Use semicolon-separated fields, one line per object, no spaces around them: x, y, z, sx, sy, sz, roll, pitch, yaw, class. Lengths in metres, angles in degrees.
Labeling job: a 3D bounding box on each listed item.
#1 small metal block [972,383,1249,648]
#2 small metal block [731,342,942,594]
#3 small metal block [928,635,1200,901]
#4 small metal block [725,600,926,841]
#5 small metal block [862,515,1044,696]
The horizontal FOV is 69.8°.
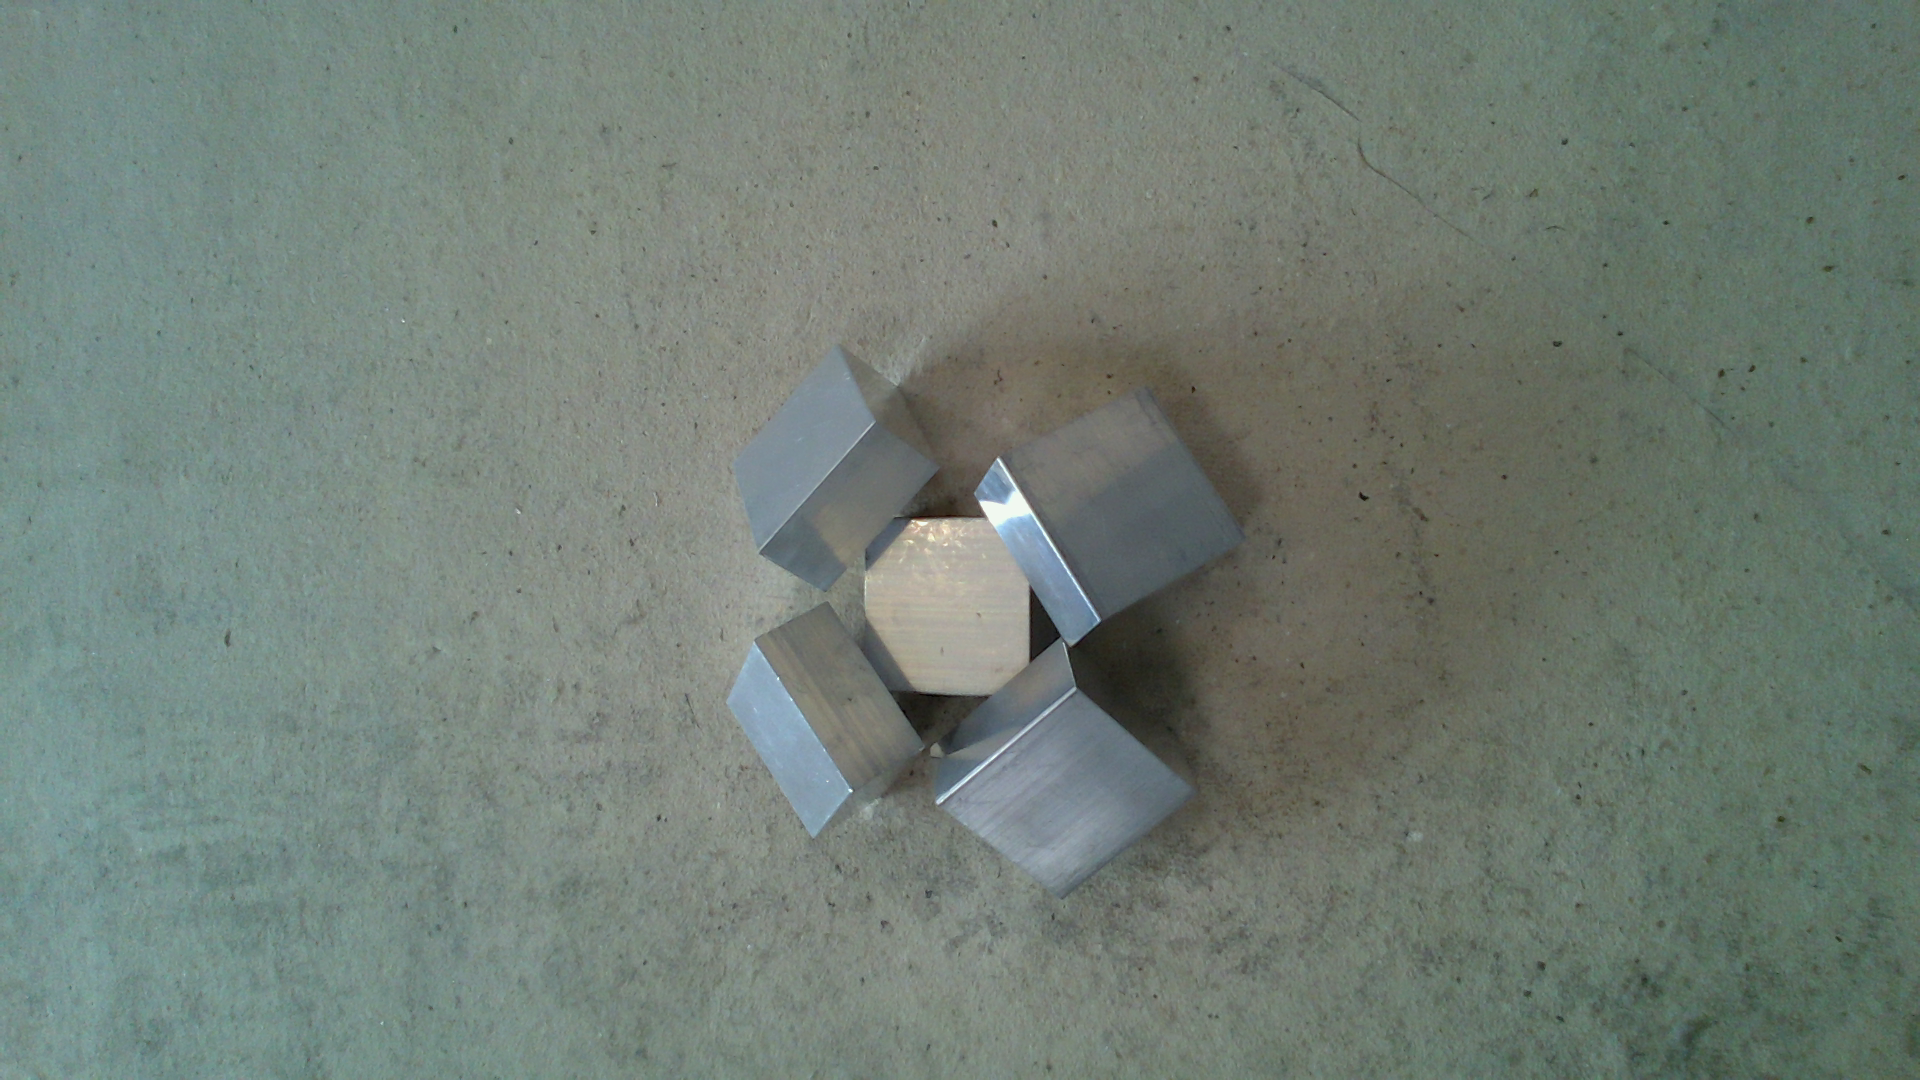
0.040;-0.007;0.369;0.050;0.025;0.050;-27;79;-23;small metal block
-0.037;-0.021;0.396;0.050;0.025;0.050;-47;34;14;small metal block
0.027;0.062;0.373;0.050;0.025;0.050;-42;115;15;small metal block
-0.041;0.053;0.397;0.050;0.025;0.050;55;150;12;small metal block
0.000;0.018;0.396;0.050;0.025;0.050;0;90;19;small metal block
